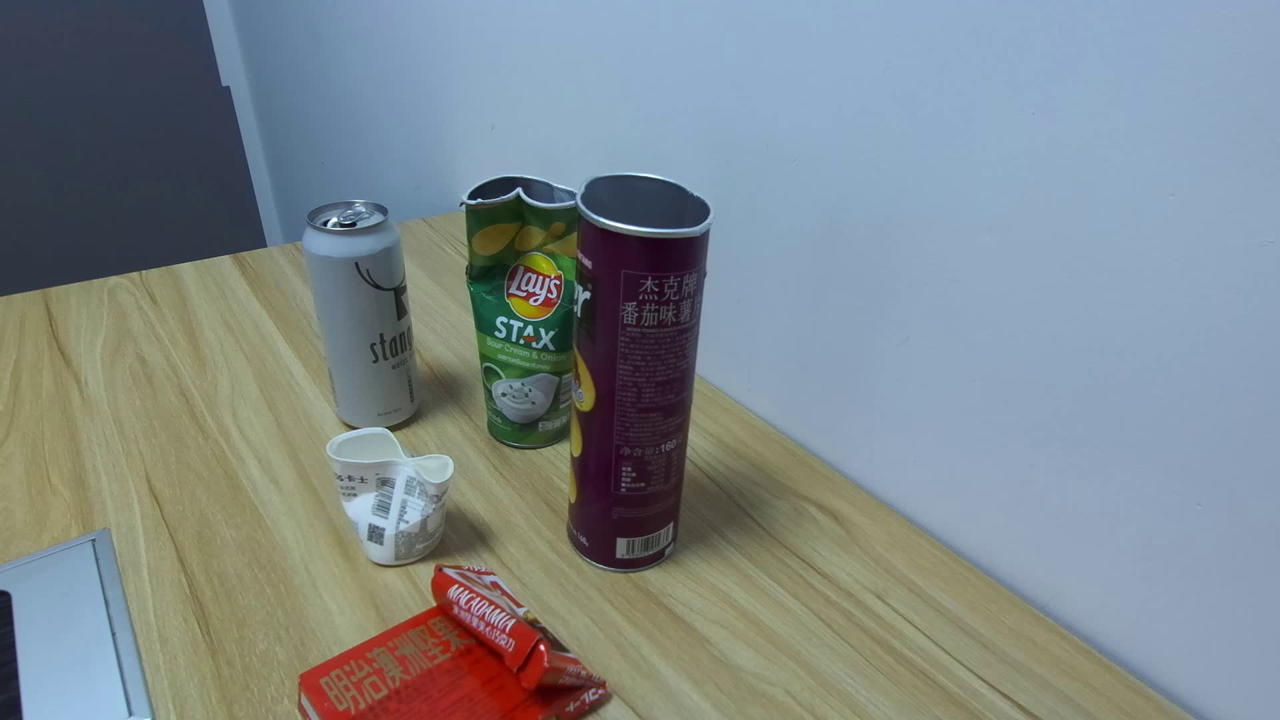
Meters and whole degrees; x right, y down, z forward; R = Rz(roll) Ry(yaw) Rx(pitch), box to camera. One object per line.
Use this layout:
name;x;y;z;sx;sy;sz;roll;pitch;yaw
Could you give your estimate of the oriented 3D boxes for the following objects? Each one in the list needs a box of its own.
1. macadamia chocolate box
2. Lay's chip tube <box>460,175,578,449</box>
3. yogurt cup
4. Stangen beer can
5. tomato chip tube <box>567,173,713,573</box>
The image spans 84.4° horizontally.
macadamia chocolate box;-0.100;0.163;0.366;0.127;0.056;0.111;-28;29;-37
Lay's chip tube;-0.083;-0.032;0.522;0.077;0.201;0.069;-10;34;-18
yogurt cup;-0.154;0.086;0.446;0.075;0.071;0.053;-3;35;-9
Stangen beer can;-0.208;-0.030;0.535;0.067;0.171;0.067;3;31;-2
tomato chip tube;-0.003;0.017;0.417;0.076;0.234;0.080;13;34;15
